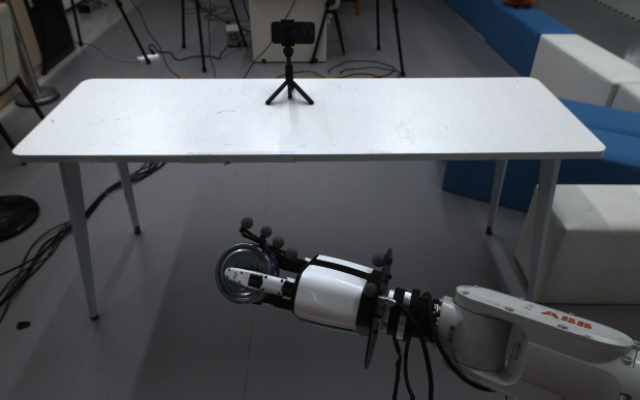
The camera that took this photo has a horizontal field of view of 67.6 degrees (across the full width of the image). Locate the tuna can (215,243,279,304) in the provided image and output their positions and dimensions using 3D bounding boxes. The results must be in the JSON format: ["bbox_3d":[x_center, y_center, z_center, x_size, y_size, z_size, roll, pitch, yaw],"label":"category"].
[{"bbox_3d":[-0.099,0.109,0.676,0.085,0.085,0.034,13,-4,15],"label":"tuna can"}]
